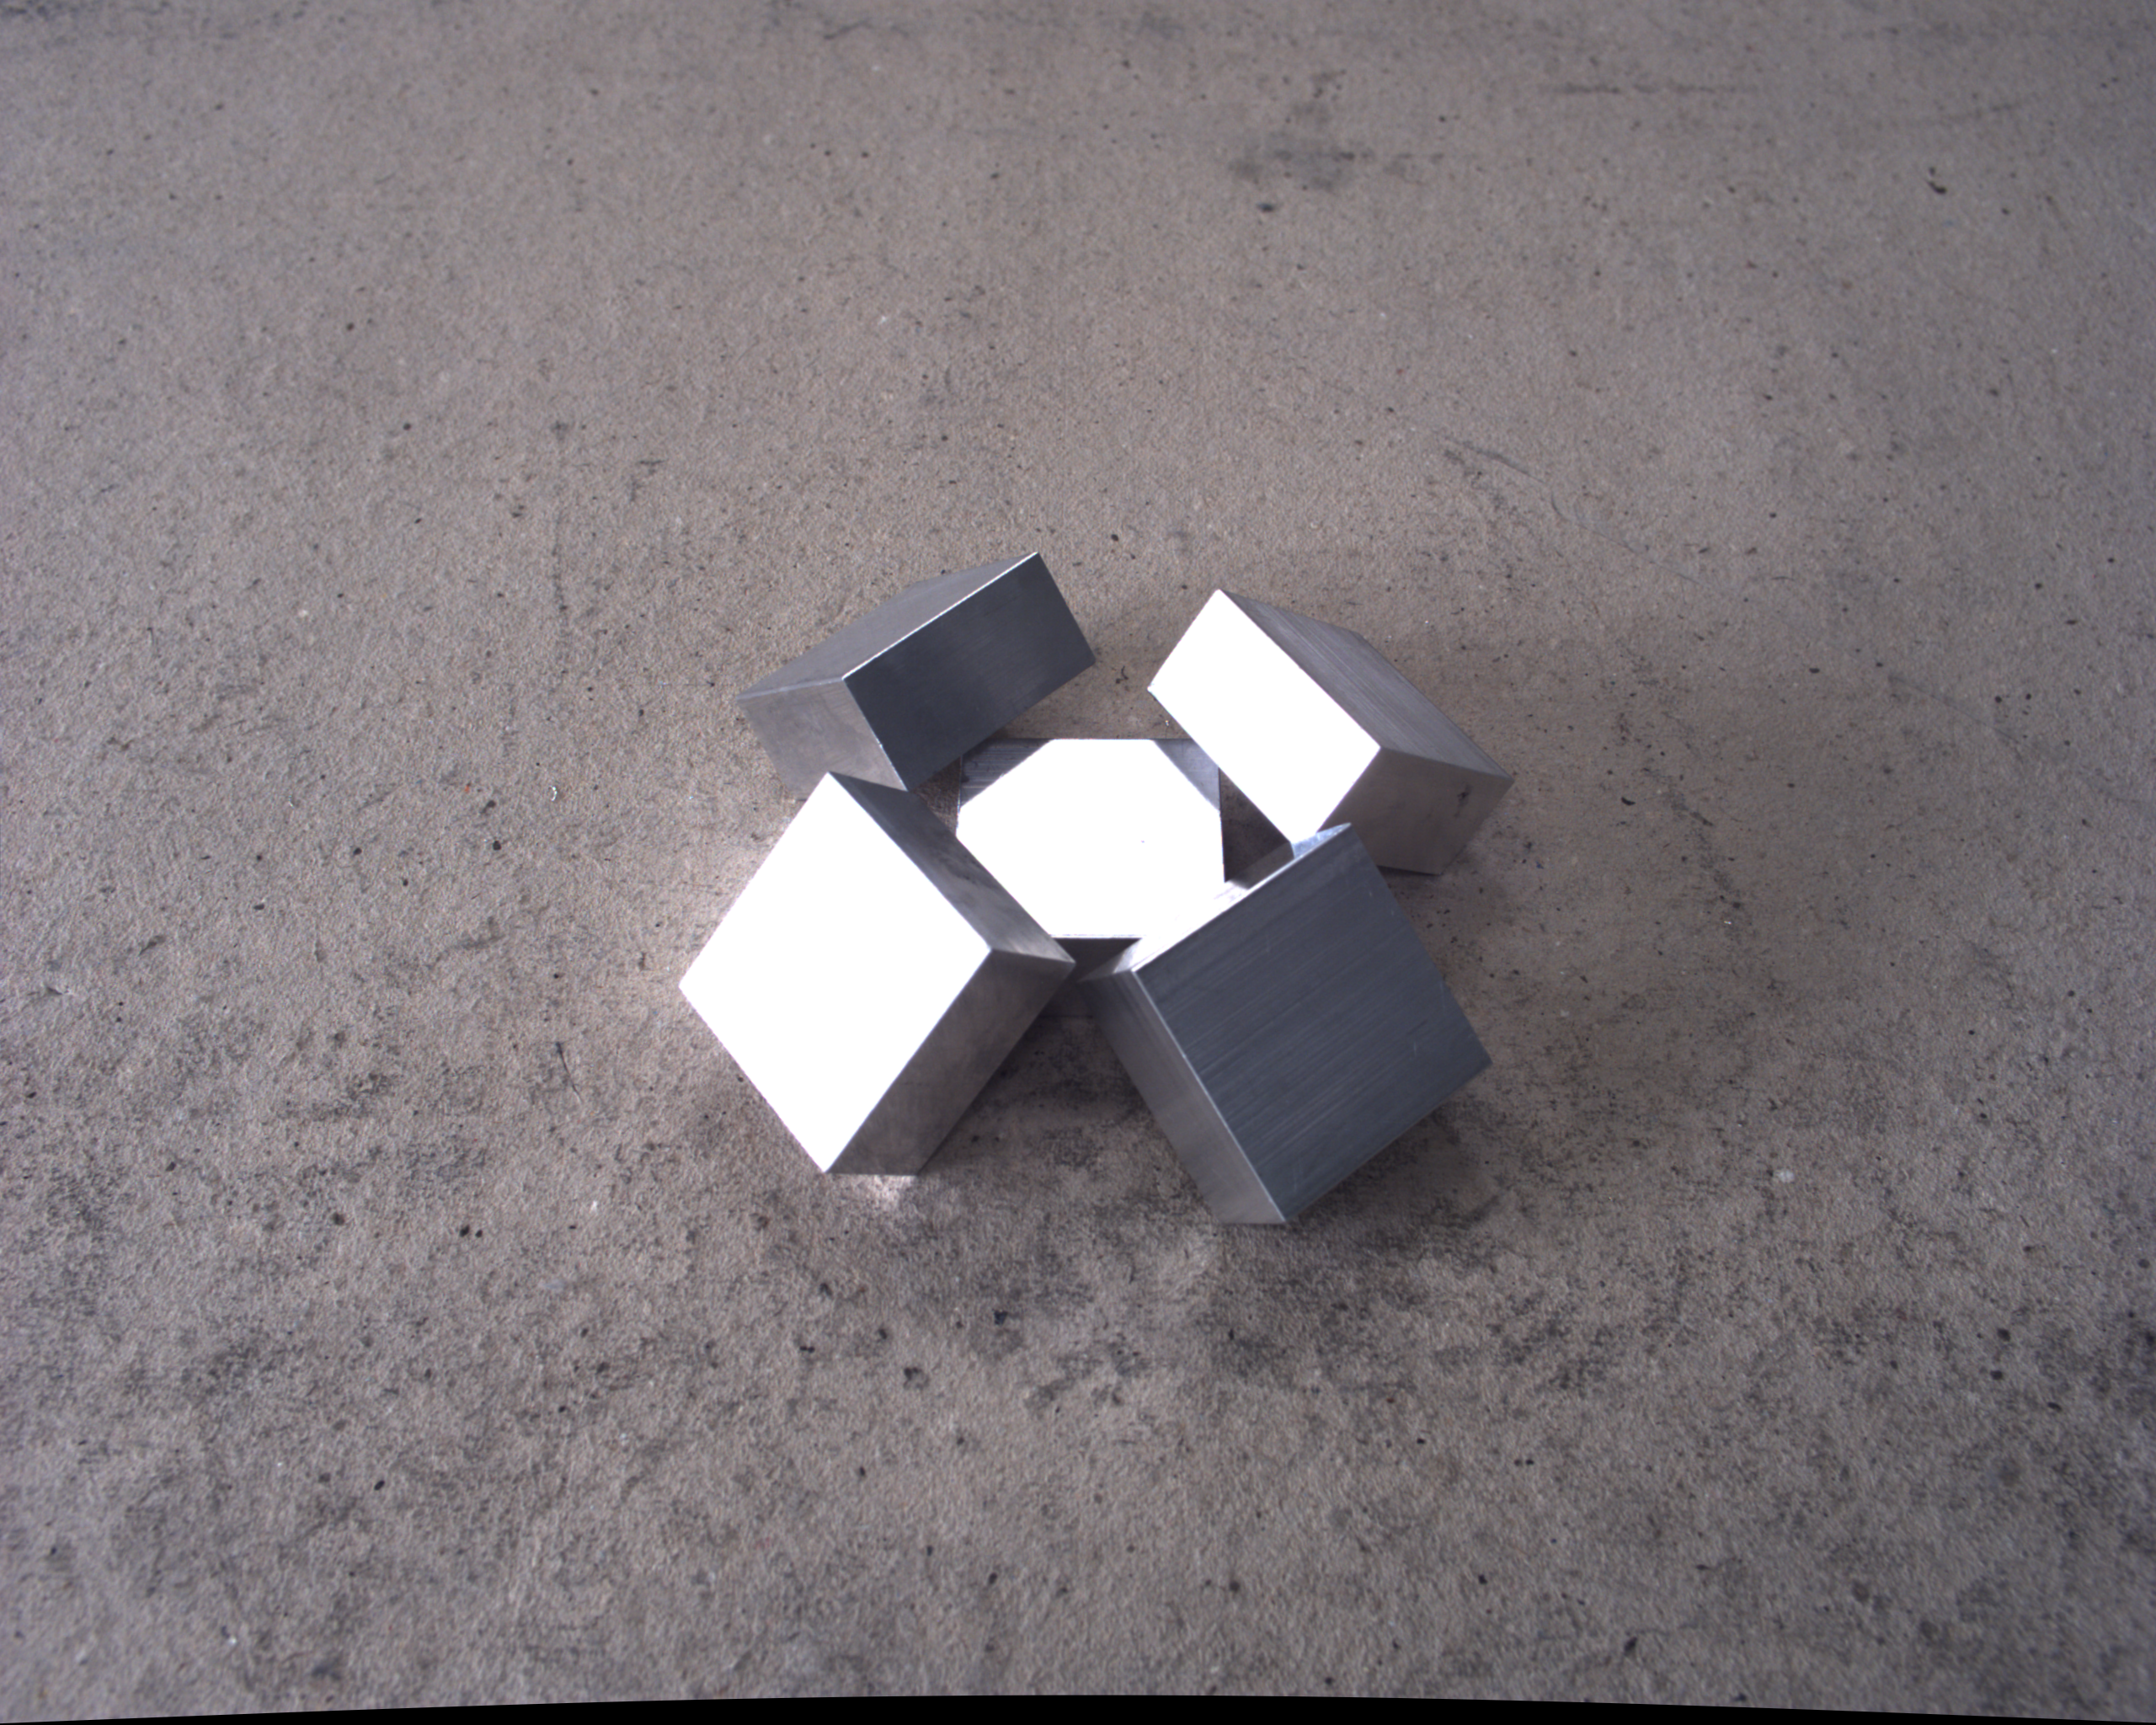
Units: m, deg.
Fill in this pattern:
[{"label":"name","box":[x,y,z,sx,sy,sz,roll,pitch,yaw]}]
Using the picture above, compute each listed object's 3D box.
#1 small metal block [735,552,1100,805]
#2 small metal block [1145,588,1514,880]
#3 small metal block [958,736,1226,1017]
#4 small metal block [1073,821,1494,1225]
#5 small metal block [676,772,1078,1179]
[{"label":"small metal block","box":[-0.033,-0.036,0.418,0.050,0.025,0.050,-37,18,-27]},{"label":"small metal block","box":[0.050,-0.024,0.410,0.050,0.025,0.050,9,34,-50]},{"label":"small metal block","box":[0.002,0.002,0.403,0.050,0.025,0.050,1,50,-1]},{"label":"small metal block","box":[0.036,0.028,0.365,0.050,0.025,0.050,-33,95,-24]},{"label":"small metal block","box":[-0.037,0.020,0.370,0.050,0.025,0.050,45,107,31]}]
